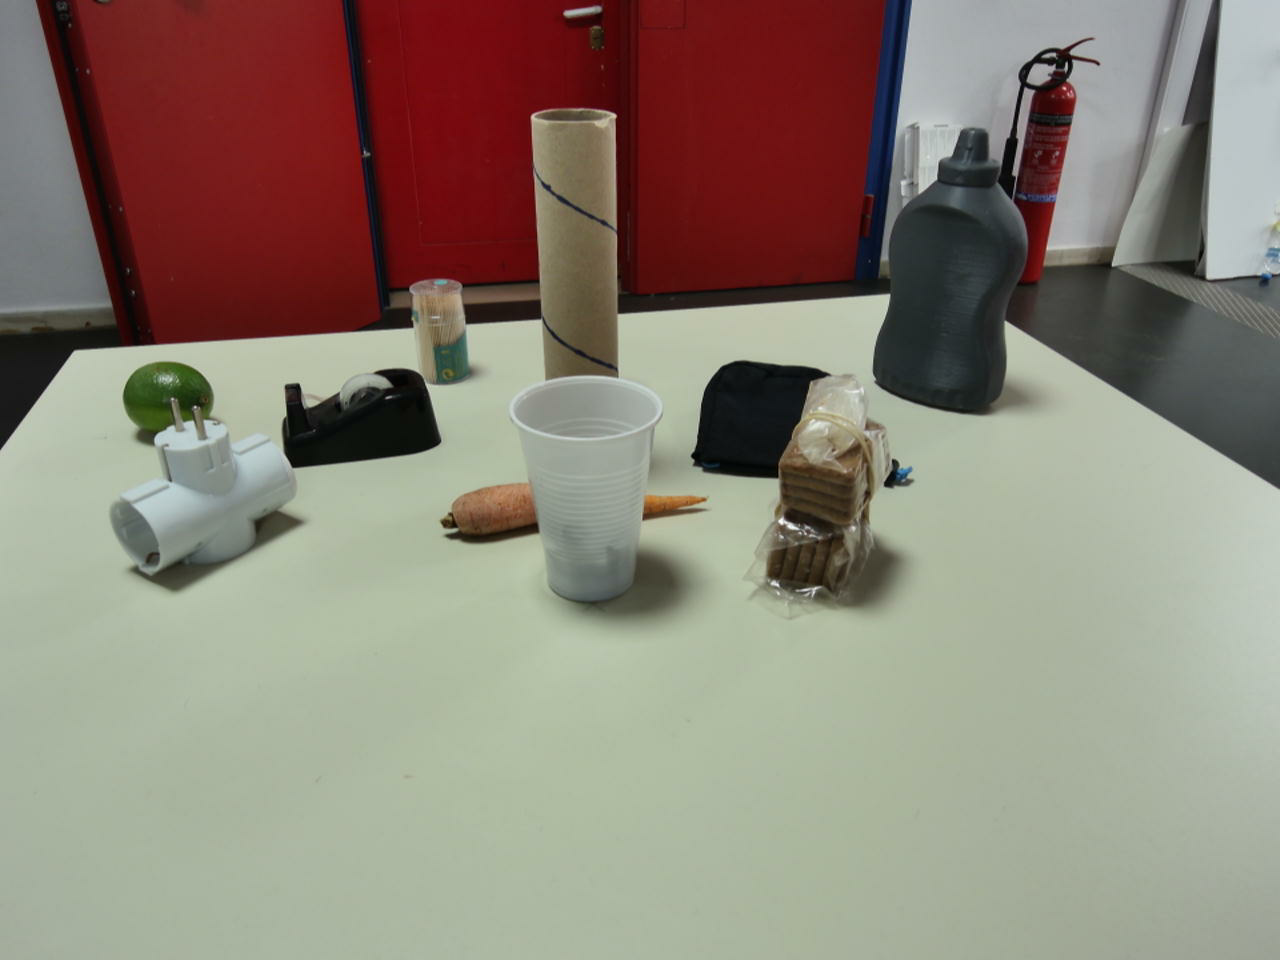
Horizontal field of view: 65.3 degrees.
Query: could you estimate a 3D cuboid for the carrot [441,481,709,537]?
[{"bbox_3d":[-0.038,0.013,0.611,0.163,0.029,0.031,-6,27,-11],"label":"carrot"}]
